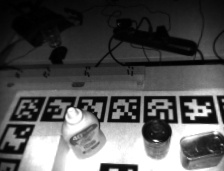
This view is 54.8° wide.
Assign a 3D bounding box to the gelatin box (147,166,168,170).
[{"bbox_3d":[0.123,0.241,0.514,0.088,0.030,0.073,6,55,18],"label":"gelatin box"}]

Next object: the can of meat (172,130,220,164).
[{"bbox_3d":[0.205,0.153,0.541,0.102,0.084,0.057,-11,51,-1],"label":"can of meat"}]

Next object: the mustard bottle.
[{"bbox_3d":[-0.087,0.115,0.561,0.096,0.193,0.058,-21,50,-7],"label":"mustard bottle"}]

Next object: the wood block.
[{"bbox_3d":[-0.187,0.228,0.549,0.090,0.090,0.205,1,48,10],"label":"wood block"}]

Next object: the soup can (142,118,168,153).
[{"bbox_3d":[0.109,0.125,0.557,0.067,0.103,0.067,-6,52,8],"label":"soup can"}]
